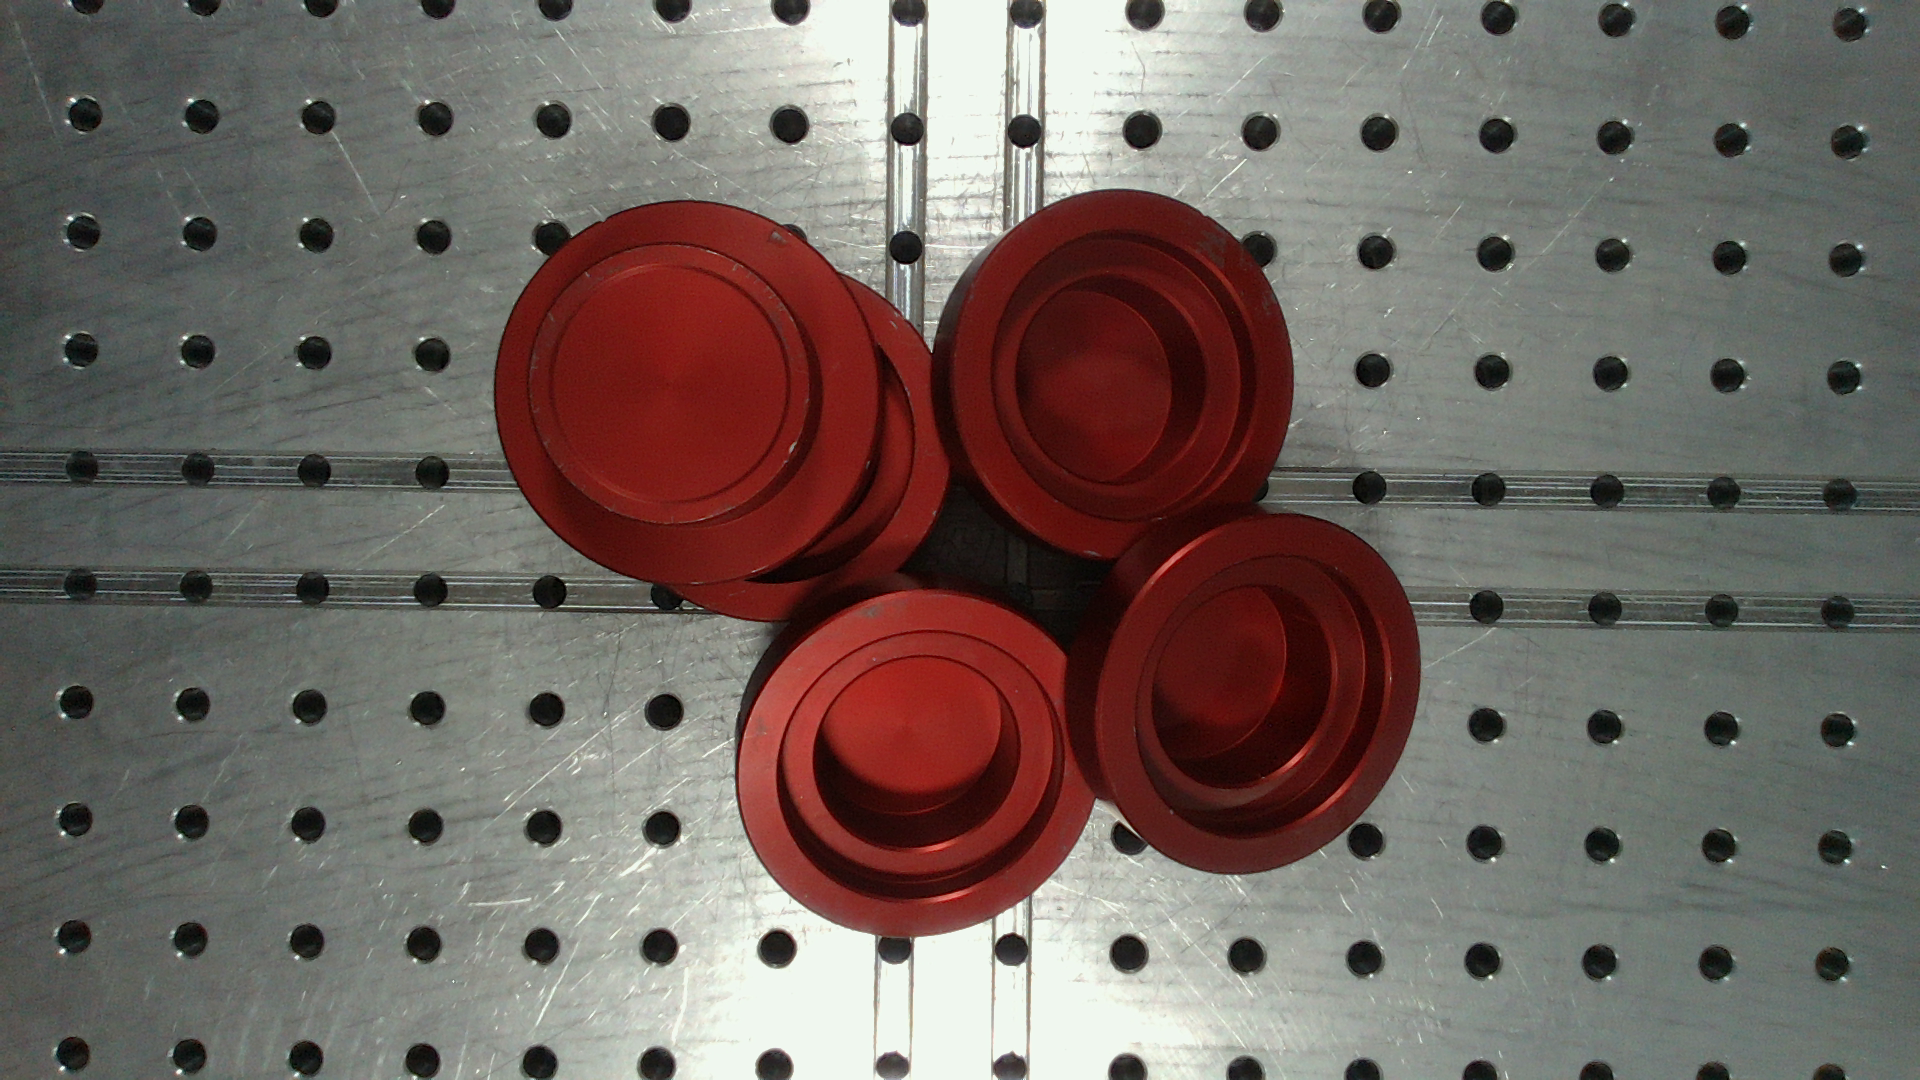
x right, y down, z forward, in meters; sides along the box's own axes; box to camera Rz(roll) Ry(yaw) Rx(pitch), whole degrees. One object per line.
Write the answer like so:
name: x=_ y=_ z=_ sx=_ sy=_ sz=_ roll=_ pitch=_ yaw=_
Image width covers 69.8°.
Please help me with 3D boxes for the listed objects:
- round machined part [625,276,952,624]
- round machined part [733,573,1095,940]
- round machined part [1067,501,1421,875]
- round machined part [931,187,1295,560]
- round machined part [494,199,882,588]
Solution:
round machined part: x=-0.050 y=-0.027 z=0.388 sx=0.098 sy=0.042 sz=0.098 roll=0 pitch=90 yaw=0
round machined part: x=-0.013 y=0.056 z=0.381 sx=0.098 sy=0.042 sz=0.098 roll=-3 pitch=105 yaw=-10
round machined part: x=0.073 y=0.038 z=0.378 sx=0.098 sy=0.042 sz=0.098 roll=-4 pitch=102 yaw=-20
round machined part: x=0.039 y=-0.044 z=0.380 sx=0.098 sy=0.042 sz=0.098 roll=0 pitch=91 yaw=-16
round machined part: x=-0.069 y=-0.037 z=0.346 sx=0.098 sy=0.042 sz=0.098 roll=0 pitch=90 yaw=0
